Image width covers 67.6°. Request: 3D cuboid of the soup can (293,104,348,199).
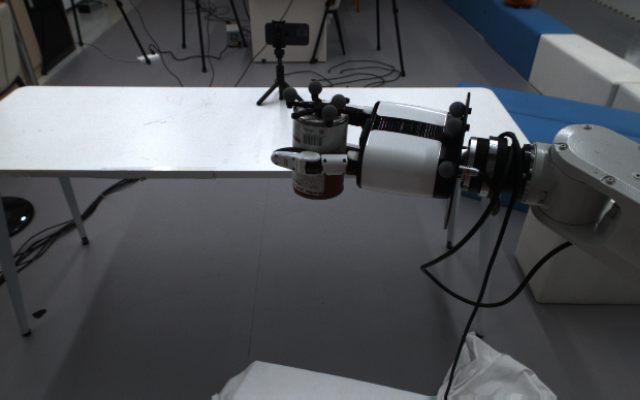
[{"bbox_3d":[0.000,-0.060,0.597,0.067,0.101,0.067,2,32,-1],"label":"soup can"}]
